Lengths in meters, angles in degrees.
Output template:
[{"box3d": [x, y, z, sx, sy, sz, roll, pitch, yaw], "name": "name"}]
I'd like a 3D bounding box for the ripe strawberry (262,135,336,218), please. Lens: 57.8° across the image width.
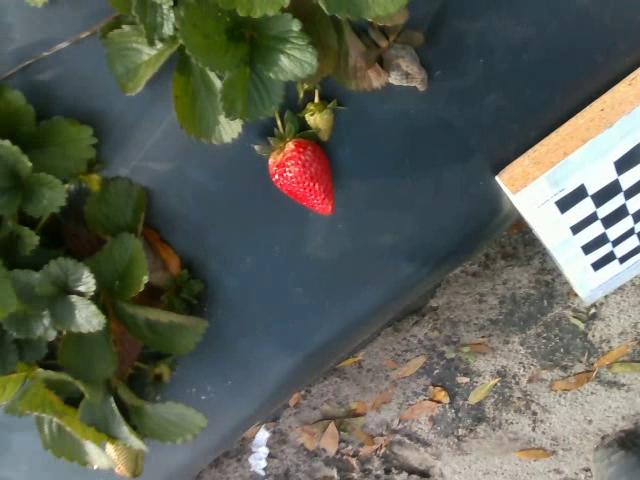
[{"box3d": [-0.010, -0.039, 0.365, 0.045, 0.058, 0.050, -34, 5, 15], "name": "ripe strawberry"}]
